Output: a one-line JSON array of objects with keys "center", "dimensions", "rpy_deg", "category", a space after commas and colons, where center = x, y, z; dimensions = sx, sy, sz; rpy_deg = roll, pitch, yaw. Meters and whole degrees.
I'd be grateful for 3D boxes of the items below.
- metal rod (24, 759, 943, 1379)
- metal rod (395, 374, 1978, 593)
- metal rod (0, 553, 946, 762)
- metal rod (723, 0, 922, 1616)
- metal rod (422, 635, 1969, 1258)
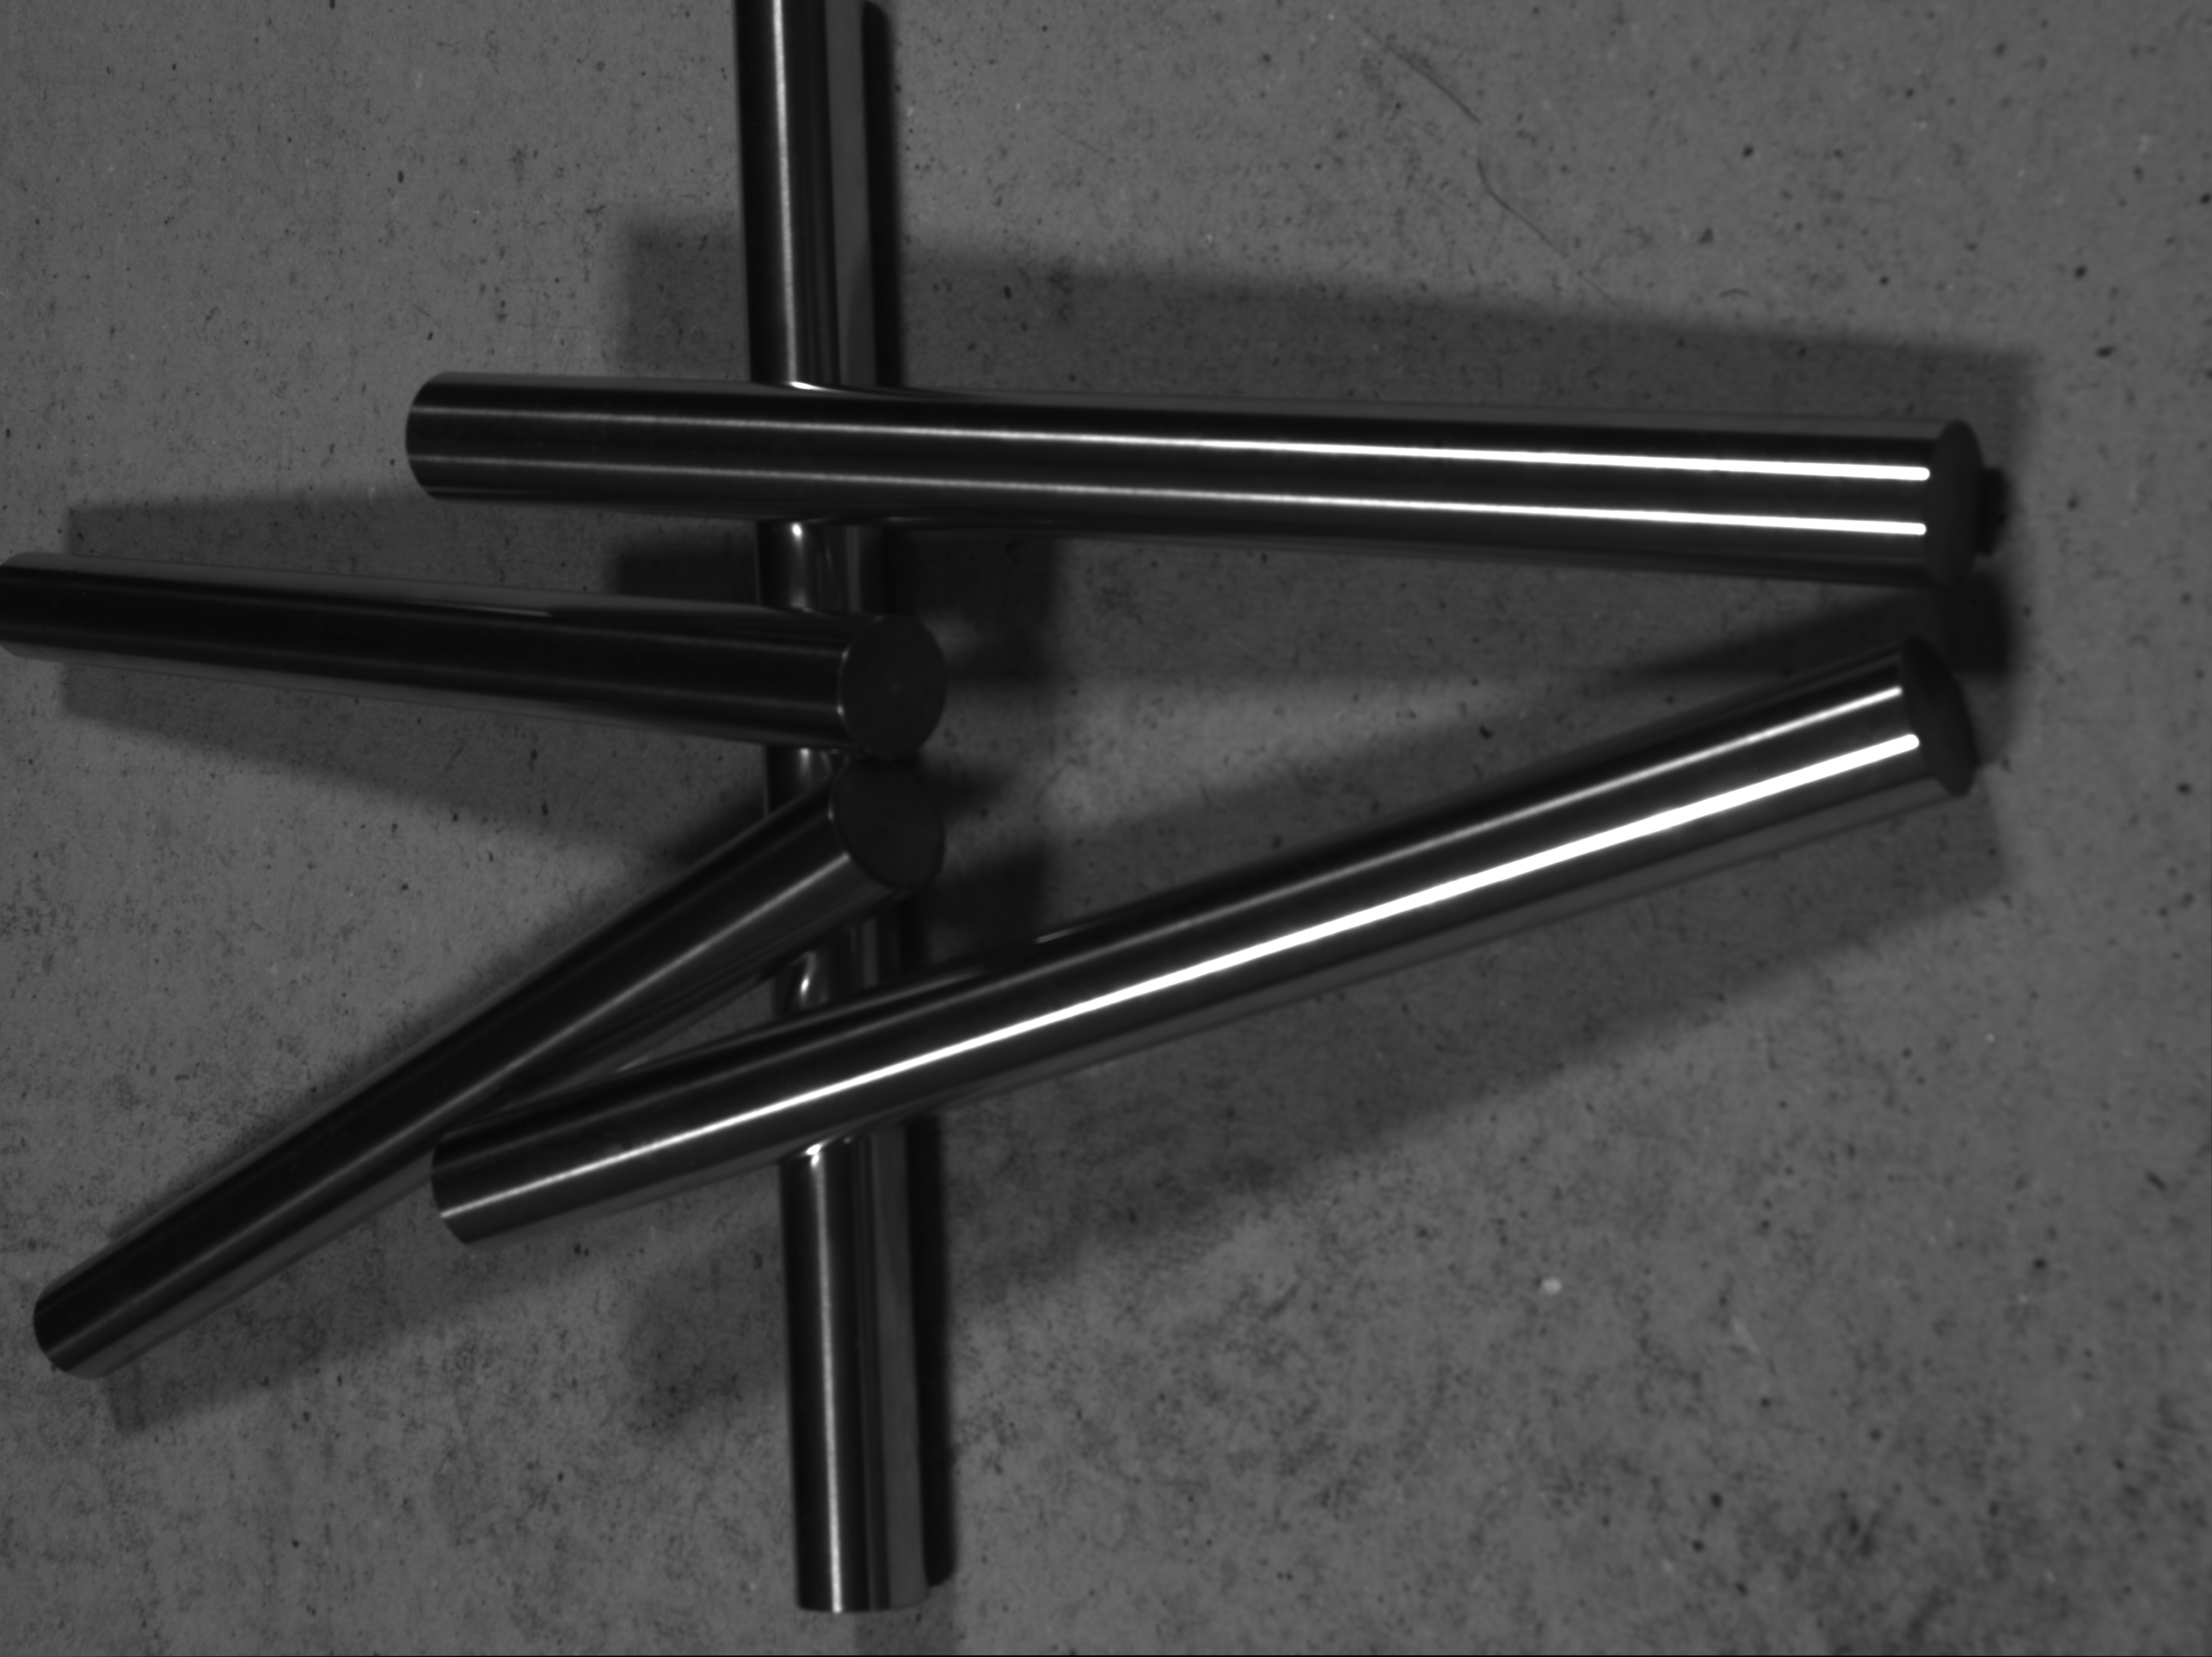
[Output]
[{"center": [-0.135, 0.056, 0.729], "dimensions": [0.299, 0.025, 0.025], "rpy_deg": [-30, 71, 41], "category": "metal rod"}, {"center": [-0.002, -0.060, 0.617], "dimensions": [0.299, 0.025, 0.025], "rpy_deg": [6, 94, 33], "category": "metal rod"}, {"center": [-0.142, -0.037, 0.735], "dimensions": [0.299, 0.025, 0.025], "rpy_deg": [7, 94, 45], "category": "metal rod"}, {"center": [-0.053, -0.007, 0.680], "dimensions": [0.025, 0.025, 0.300], "rpy_deg": [-4, 87, 39], "category": "metal rod"}, {"center": [0.001, 0.026, 0.615], "dimensions": [0.299, 0.025, 0.025], "rpy_deg": [-19, 78, 31], "category": "metal rod"}]
